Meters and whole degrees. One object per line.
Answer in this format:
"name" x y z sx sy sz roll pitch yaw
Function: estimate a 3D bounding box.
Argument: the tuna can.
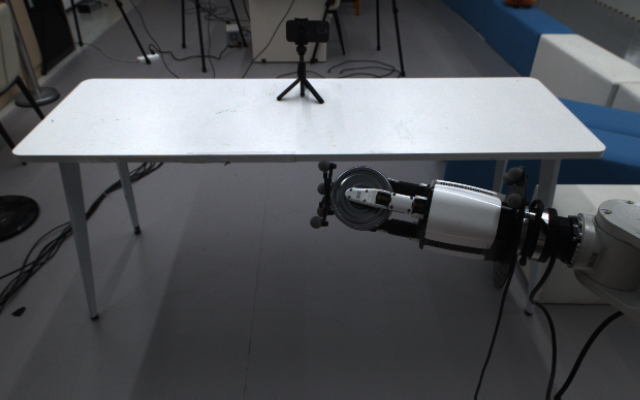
"tuna can" 0.061 0.000 0.653 0.085 0.085 0.034 9 -6 10
